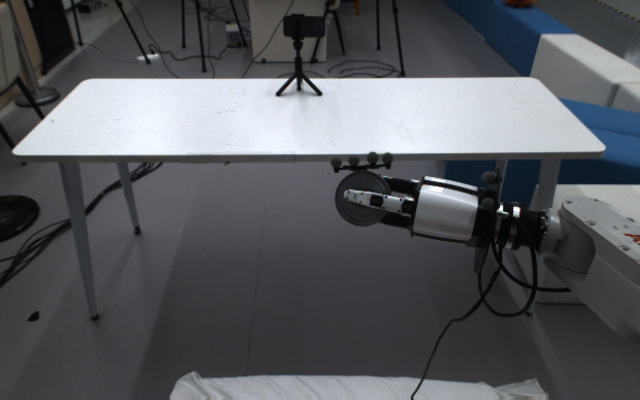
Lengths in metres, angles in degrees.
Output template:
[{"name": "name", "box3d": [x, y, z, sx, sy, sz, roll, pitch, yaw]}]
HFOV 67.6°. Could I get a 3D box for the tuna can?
[{"name": "tuna can", "box3d": [0.068, -0.003, 0.745, 0.085, 0.085, 0.034, 10, 1, 12]}]
